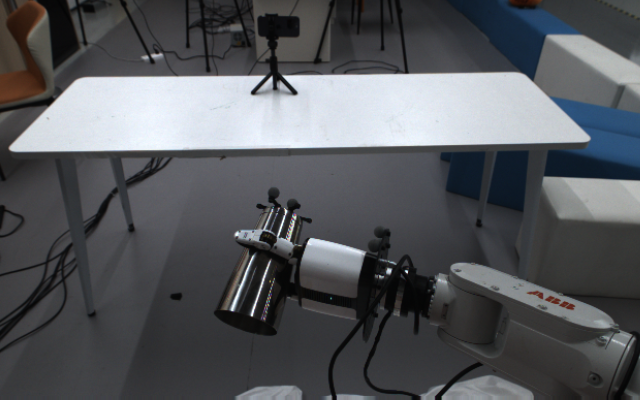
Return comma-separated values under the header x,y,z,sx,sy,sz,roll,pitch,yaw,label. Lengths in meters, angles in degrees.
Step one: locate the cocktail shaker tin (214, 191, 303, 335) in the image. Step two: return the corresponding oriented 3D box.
x,y,z,sx,sy,sz,roll,pitch,yaw,label
-0.077,0.098,0.697,0.093,0.093,0.170,10,59,11,cocktail shaker tin
